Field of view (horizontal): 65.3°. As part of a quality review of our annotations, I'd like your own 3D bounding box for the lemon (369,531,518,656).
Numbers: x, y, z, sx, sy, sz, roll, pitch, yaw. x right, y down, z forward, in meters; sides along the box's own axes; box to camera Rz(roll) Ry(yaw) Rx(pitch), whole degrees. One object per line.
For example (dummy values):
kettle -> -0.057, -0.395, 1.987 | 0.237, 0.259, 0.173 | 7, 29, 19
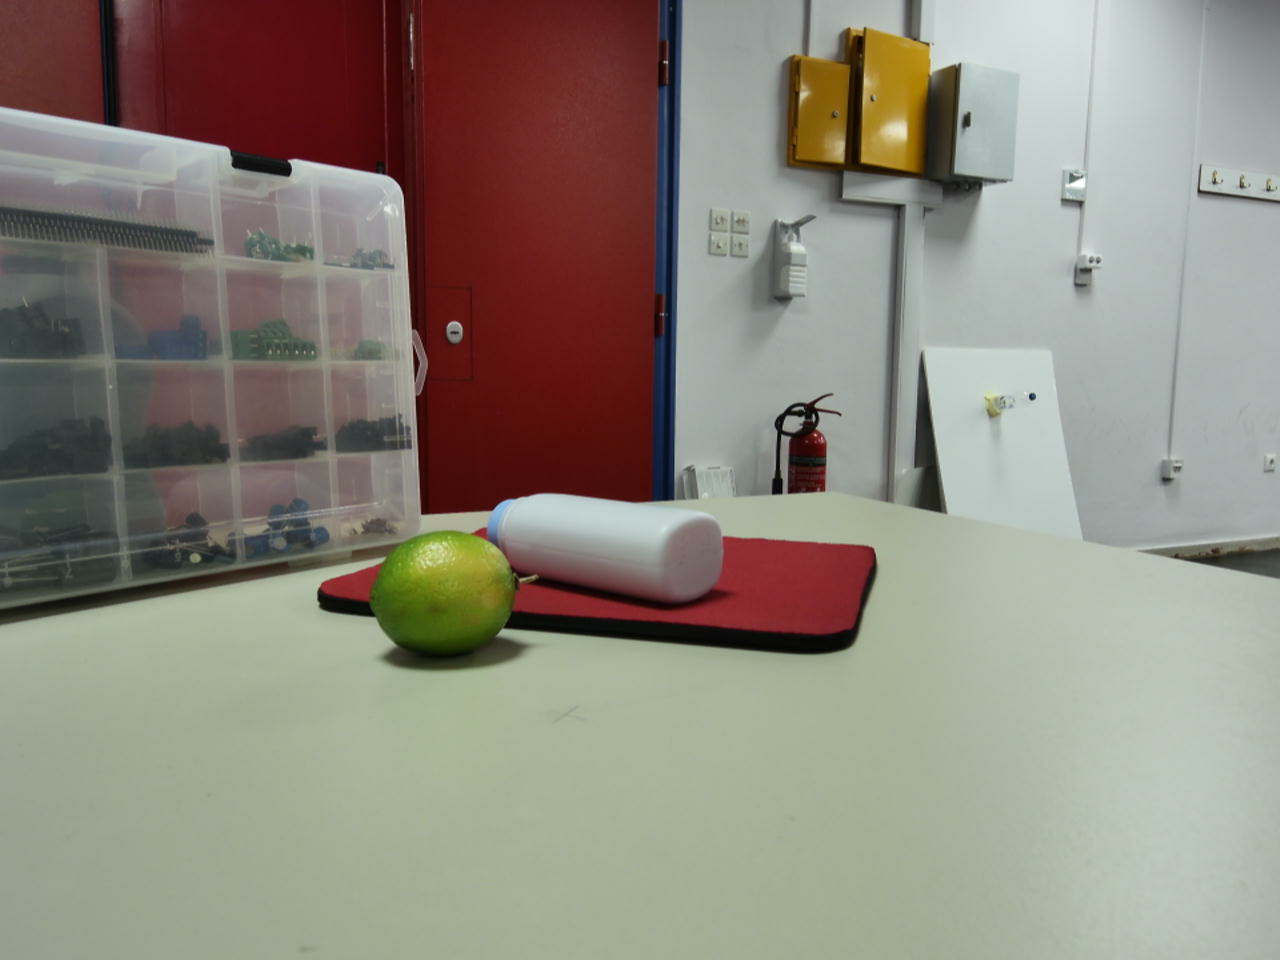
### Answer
lemon -> -0.081, 0.047, 0.414 | 0.055, 0.050, 0.054 | 1, 5, 24
